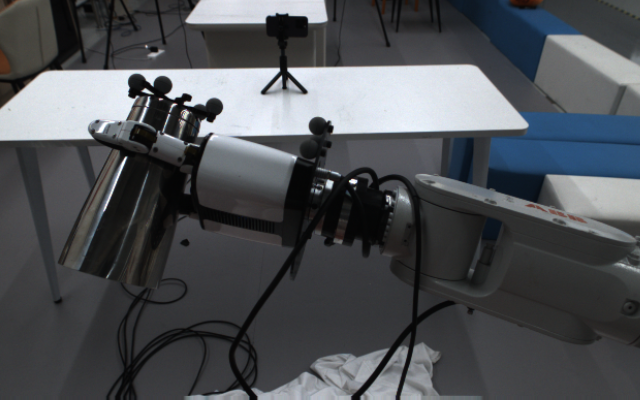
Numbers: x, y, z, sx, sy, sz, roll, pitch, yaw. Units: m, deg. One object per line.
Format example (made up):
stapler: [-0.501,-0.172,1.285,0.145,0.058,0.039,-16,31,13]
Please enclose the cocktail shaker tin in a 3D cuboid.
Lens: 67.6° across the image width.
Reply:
cocktail shaker tin: [-0.171,-0.010,0.470,0.093,0.093,0.170,13,79,15]
